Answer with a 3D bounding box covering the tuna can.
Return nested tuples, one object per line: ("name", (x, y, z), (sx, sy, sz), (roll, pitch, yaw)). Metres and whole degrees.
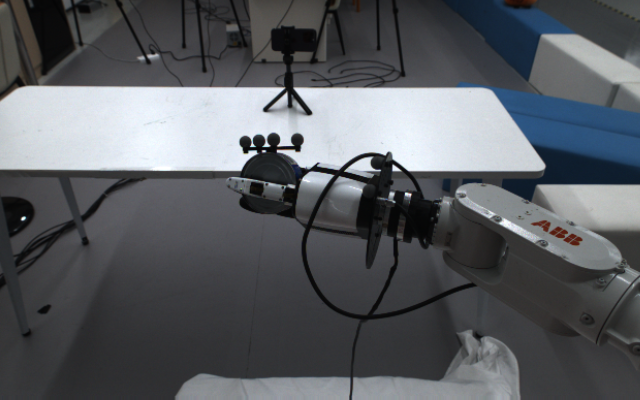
("tuna can", (-0.067, -0.024, 0.680), (0.085, 0.085, 0.034), (15, 10, 18))
